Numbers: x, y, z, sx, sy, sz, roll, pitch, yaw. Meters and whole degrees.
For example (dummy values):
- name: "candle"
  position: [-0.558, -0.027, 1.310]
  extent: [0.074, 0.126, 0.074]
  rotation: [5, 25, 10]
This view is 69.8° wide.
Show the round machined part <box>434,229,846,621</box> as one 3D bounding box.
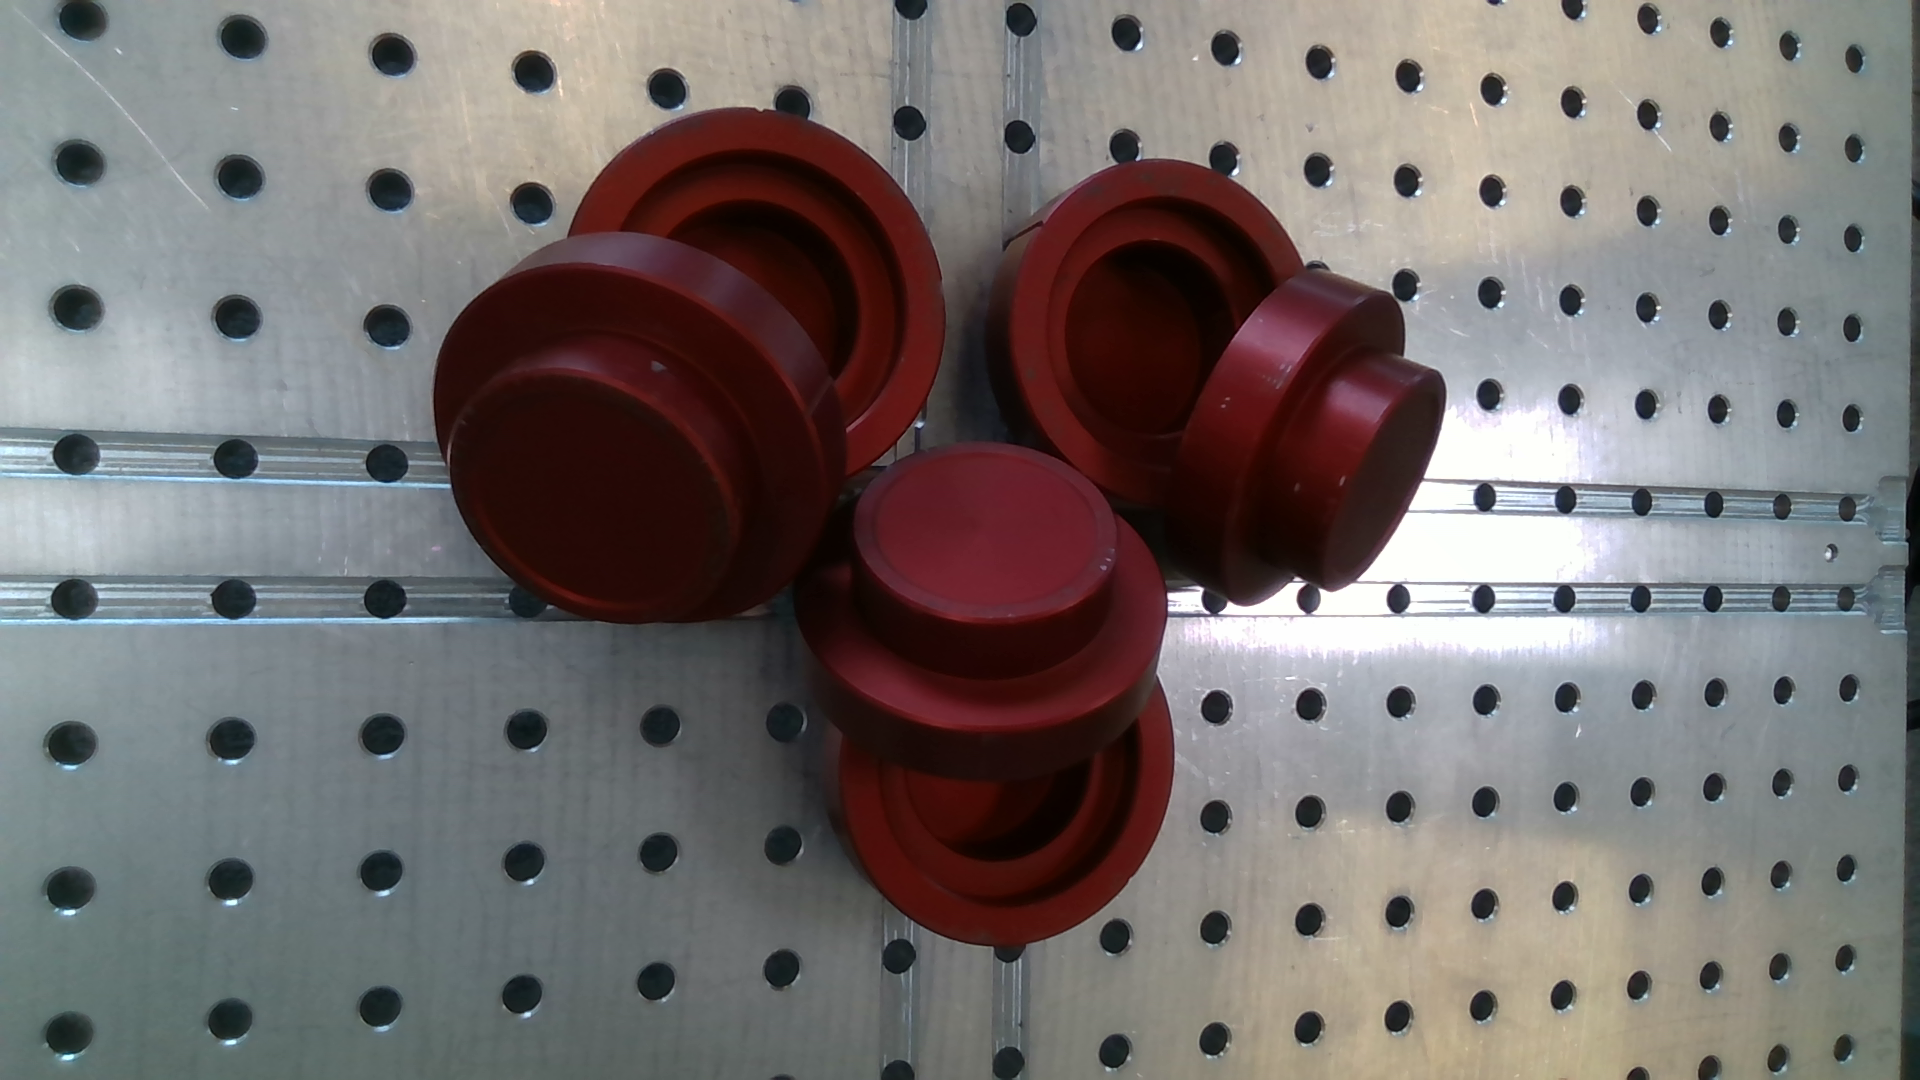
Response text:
- name: "round machined part"
  position: [-0.079, -0.020, 0.328]
  extent: [0.098, 0.042, 0.098]
  rotation: [6, 124, 9]

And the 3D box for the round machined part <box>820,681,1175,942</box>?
- name: "round machined part"
  position: [0.008, 0.060, 0.390]
  extent: [0.098, 0.042, 0.098]
  rotation: [0, 90, -20]

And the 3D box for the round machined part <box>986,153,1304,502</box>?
- name: "round machined part"
  position: [0.053, -0.060, 0.405]
  extent: [0.098, 0.042, 0.098]
  rotation: [0, 90, -20]

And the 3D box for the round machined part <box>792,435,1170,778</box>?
- name: "round machined part"
  position: [0.006, 0.010, 0.357]
  extent: [0.098, 0.098, 0.042]
  rotation: [-15, 137, -20]

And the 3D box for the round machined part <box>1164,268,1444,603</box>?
- name: "round machined part"
  position: [0.103, -0.025, 0.396]
  extent: [0.098, 0.042, 0.098]
  rotation: [-38, 144, -35]

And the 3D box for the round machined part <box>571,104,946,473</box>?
- name: "round machined part"
  position: [-0.056, -0.061, 0.366]
  extent: [0.098, 0.042, 0.098]
  rotation: [0, 90, -20]
